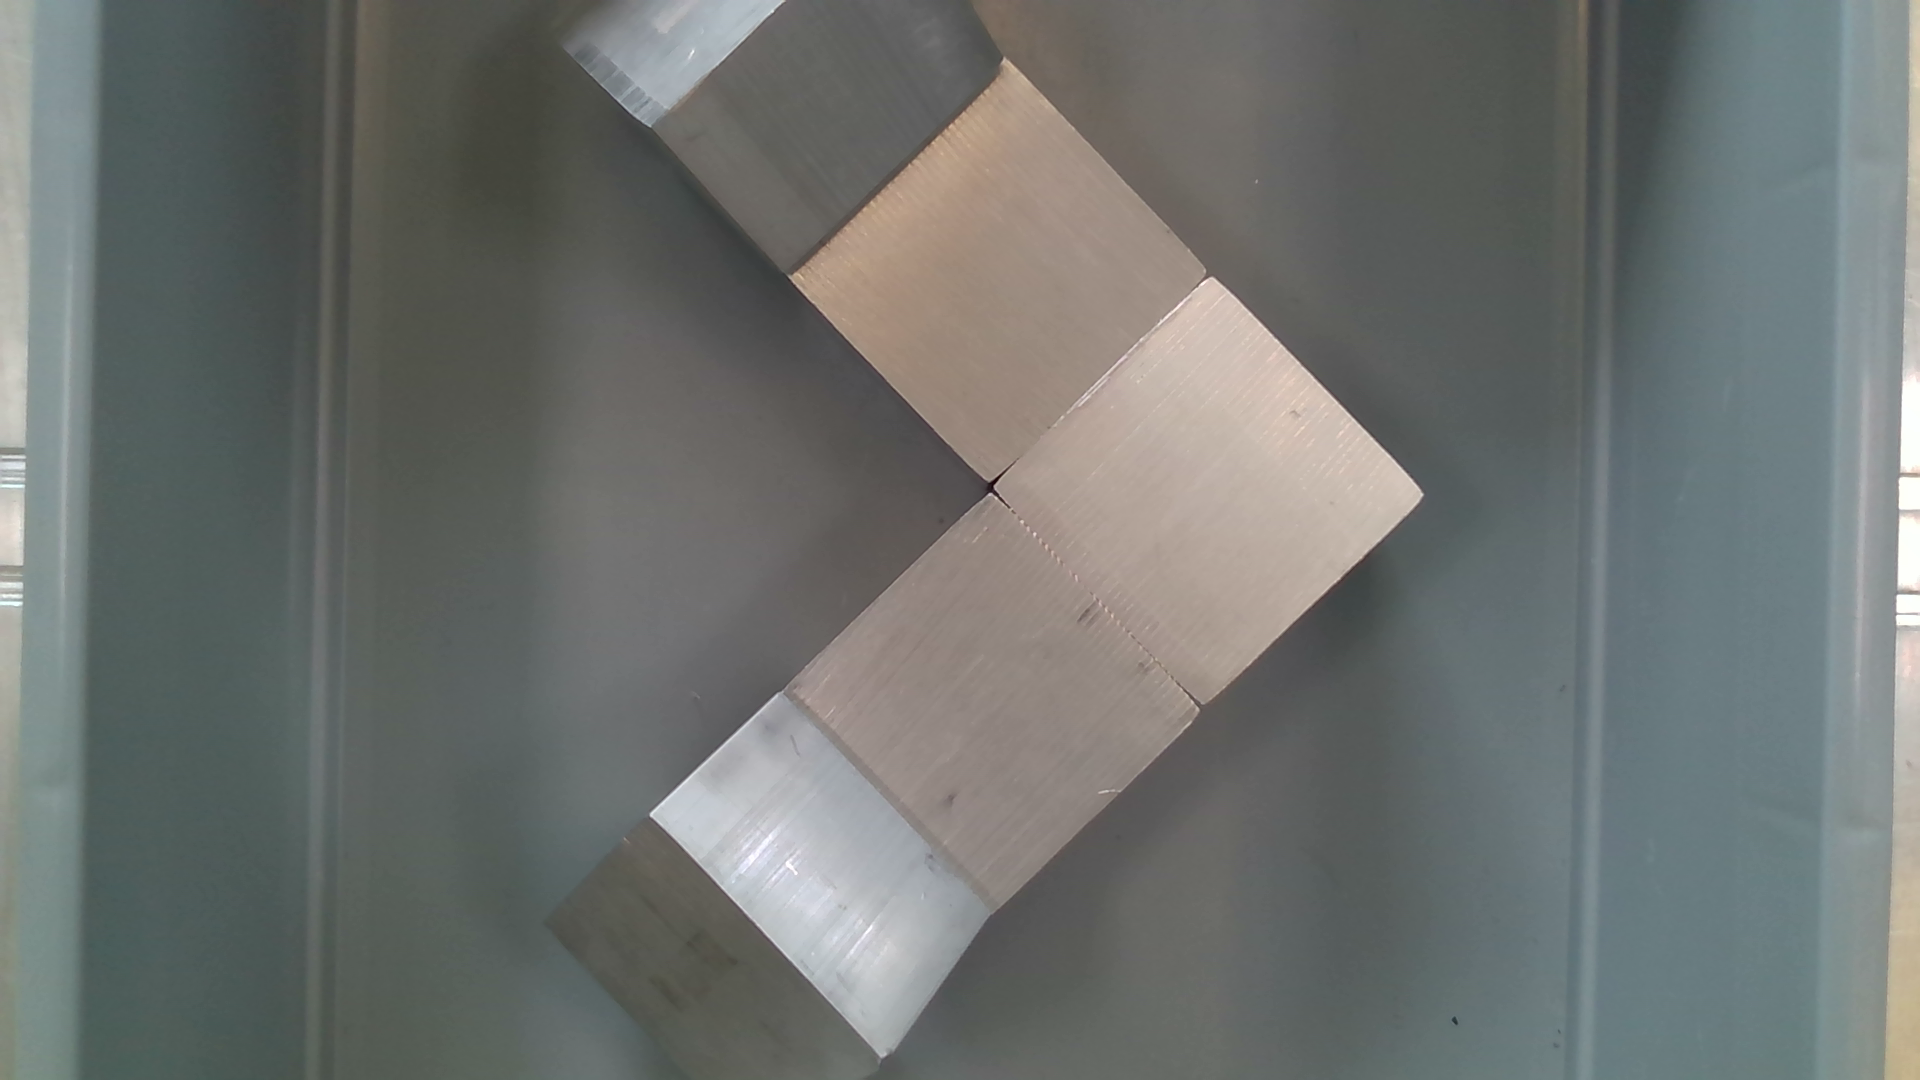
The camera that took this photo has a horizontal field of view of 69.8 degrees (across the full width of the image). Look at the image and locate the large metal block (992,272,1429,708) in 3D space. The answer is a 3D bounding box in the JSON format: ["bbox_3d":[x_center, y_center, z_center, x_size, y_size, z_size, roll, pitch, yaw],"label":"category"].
[{"bbox_3d":[0.065,-0.013,0.381,0.080,0.050,0.080,-44,90,0],"label":"large metal block"}]

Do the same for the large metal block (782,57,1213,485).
[{"bbox_3d":[0.009,-0.071,0.381,0.080,0.050,0.080,-44,90,0],"label":"large metal block"}]

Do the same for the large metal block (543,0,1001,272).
[{"bbox_3d":[-0.050,-0.130,0.359,0.080,0.050,0.080,-44,47,0],"label":"large metal block"}]

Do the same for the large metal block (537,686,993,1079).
[{"bbox_3d":[-0.053,0.098,0.361,0.080,0.050,0.080,46,133,0],"label":"large metal block"}]

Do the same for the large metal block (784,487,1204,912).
[{"bbox_3d":[0.007,0.043,0.382,0.080,0.050,0.080,-44,90,0],"label":"large metal block"}]
